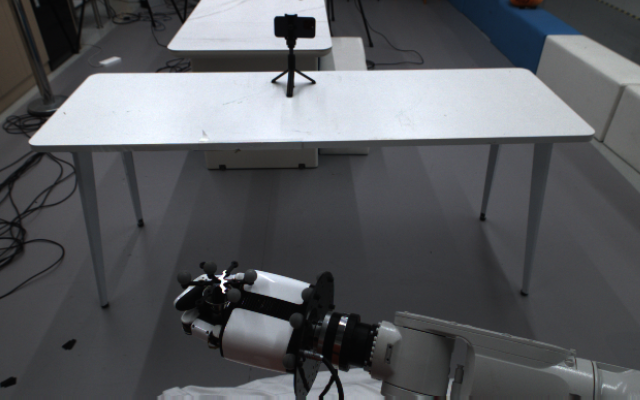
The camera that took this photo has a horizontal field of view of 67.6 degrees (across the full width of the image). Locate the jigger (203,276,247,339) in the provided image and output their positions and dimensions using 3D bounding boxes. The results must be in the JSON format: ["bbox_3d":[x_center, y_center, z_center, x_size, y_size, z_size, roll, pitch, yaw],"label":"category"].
[{"bbox_3d":[-0.128,0.146,0.639,0.043,0.071,0.043,4,31,-2],"label":"jigger"}]
